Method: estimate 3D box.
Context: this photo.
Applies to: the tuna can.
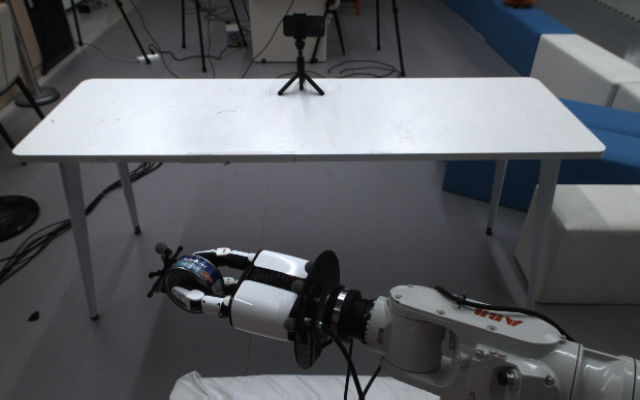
[{"bbox_3d":[-0.183,0.126,0.705,0.085,0.085,0.034,12,32,14],"label":"tuna can"}]
